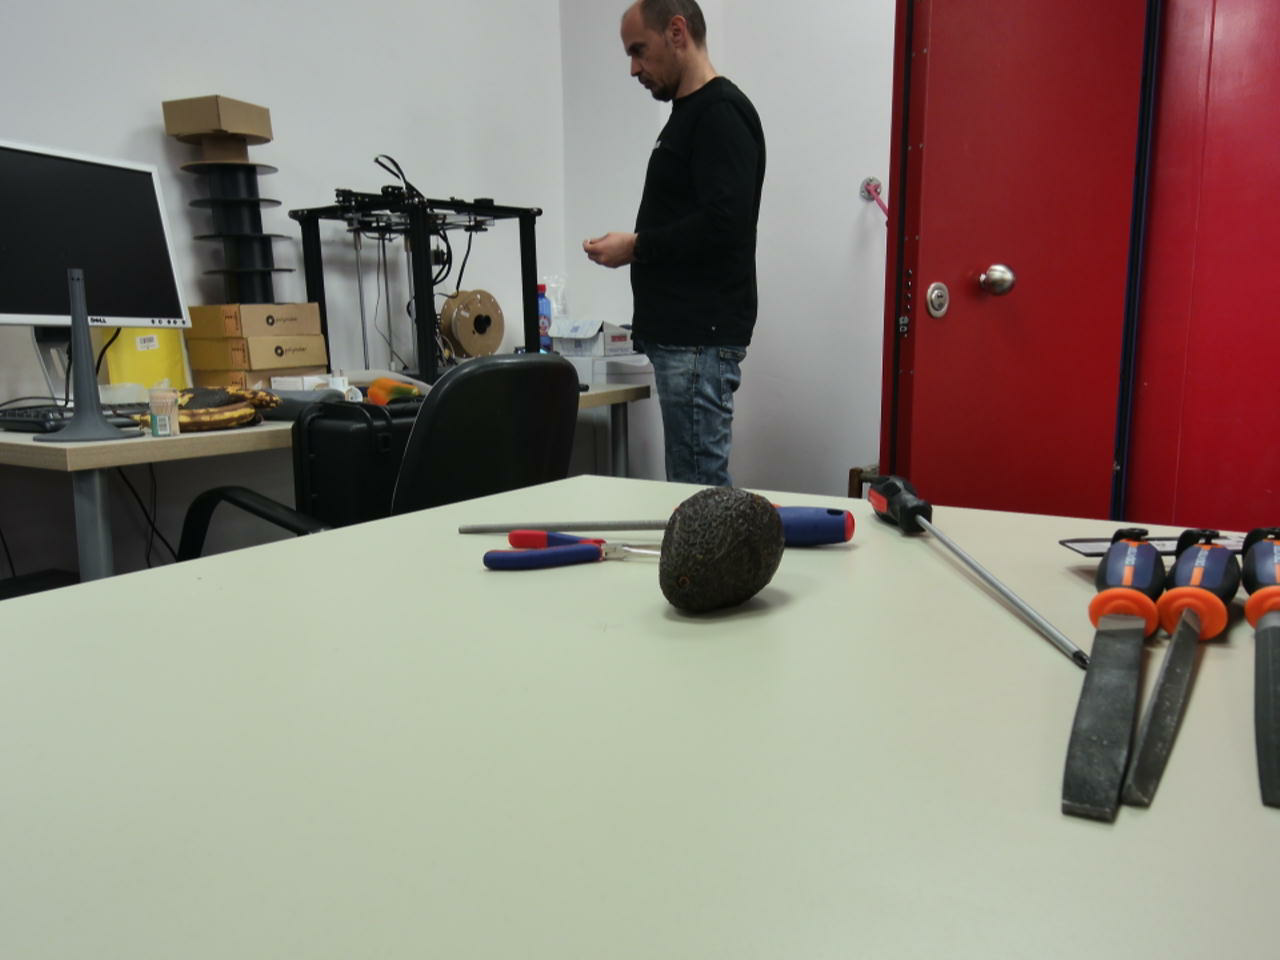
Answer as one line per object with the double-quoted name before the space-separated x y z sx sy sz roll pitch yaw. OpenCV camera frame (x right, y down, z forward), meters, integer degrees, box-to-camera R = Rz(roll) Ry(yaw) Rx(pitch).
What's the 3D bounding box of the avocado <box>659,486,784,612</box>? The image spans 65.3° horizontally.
"avocado" 0.045 0.039 0.596 0.090 0.069 0.070 -4 8 -30
